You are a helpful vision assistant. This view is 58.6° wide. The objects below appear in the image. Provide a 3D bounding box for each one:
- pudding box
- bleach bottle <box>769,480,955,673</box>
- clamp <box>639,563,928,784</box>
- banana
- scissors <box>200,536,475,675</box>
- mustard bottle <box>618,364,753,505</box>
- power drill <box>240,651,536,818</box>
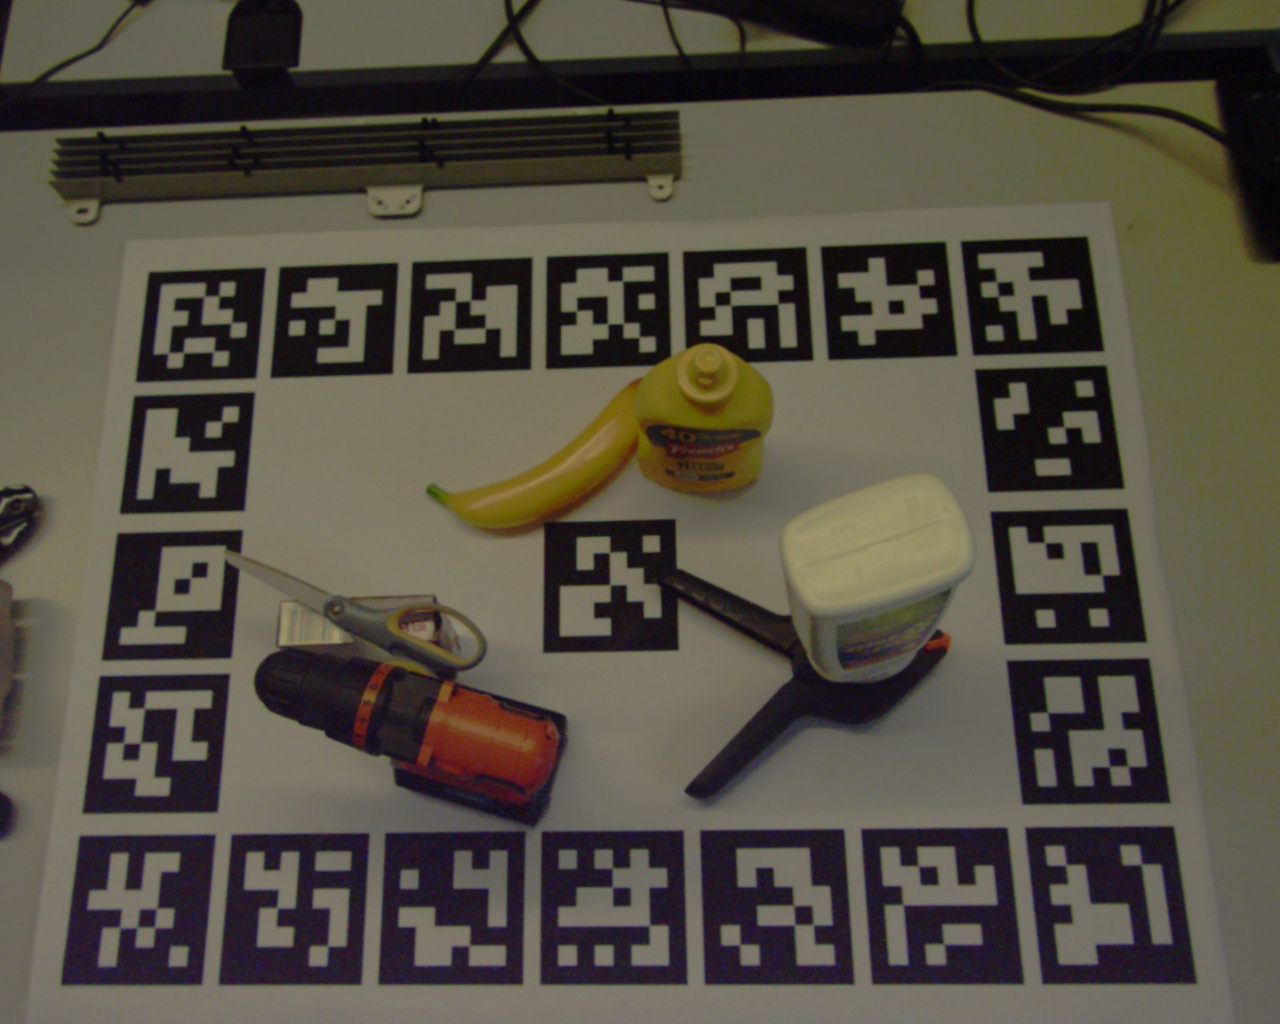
[{"bbox_3d":[-0.207,0.089,0.850,0.114,0.089,0.039,3,67,3],"label":"pudding box"},{"bbox_3d":[0.141,0.059,0.742,0.103,0.249,0.068,-20,70,4],"label":"bleach bottle"},{"bbox_3d":[0.109,0.105,0.839,0.203,0.036,0.166,-7,75,0],"label":"clamp"},{"bbox_3d":[-0.073,-0.053,0.906,0.197,0.038,0.075,-39,59,-8],"label":"banana"},{"bbox_3d":[-0.218,0.064,0.791,0.203,0.016,0.087,24,80,5],"label":"scissors"},{"bbox_3d":[0.033,-0.060,0.833,0.096,0.191,0.058,13,74,5],"label":"mustard bottle"},{"bbox_3d":[-0.150,0.146,0.749,0.185,0.186,0.057,11,67,9],"label":"power drill"}]
